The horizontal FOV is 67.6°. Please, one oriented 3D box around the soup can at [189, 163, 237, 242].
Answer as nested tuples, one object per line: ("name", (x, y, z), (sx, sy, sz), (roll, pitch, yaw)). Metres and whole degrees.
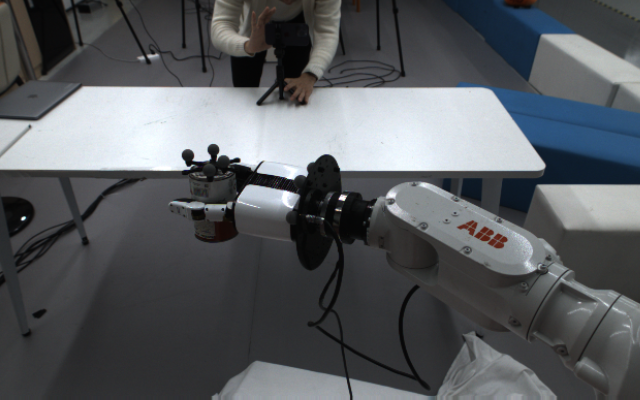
("soup can", (-0.154, 0.005, 0.709), (0.067, 0.101, 0.067), (1, 25, -1))
